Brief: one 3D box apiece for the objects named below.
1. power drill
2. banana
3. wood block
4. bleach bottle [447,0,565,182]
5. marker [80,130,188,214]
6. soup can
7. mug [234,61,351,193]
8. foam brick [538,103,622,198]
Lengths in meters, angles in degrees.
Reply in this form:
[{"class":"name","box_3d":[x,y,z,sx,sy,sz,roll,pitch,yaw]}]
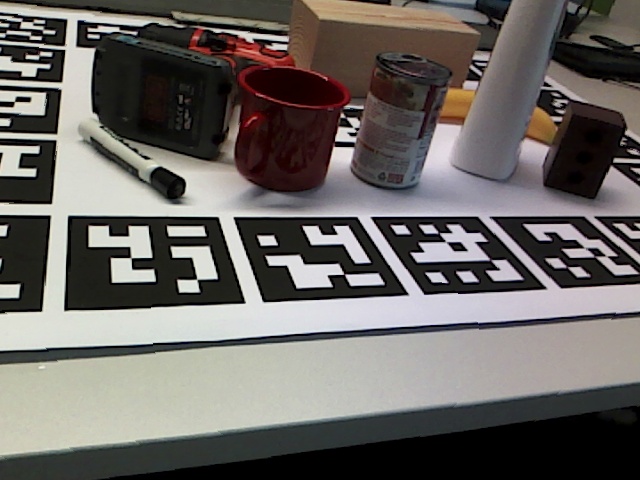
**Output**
[{"class":"power drill","box_3d":[-0.129,-0.154,0.614,0.184,0.057,0.187,17,31,0]},{"class":"banana","box_3d":[0.164,-0.161,0.726,0.197,0.039,0.074,9,46,-10]},{"class":"wood block","box_3d":[0.064,-0.226,0.752,0.205,0.091,0.090,-3,37,-23]},{"class":"bleach bottle","box_3d":[0.186,-0.185,0.579,0.068,0.250,0.102,14,31,3]},{"class":"marker","box_3d":[-0.145,-0.054,0.484,0.122,0.019,0.019,33,40,28]},{"class":"soup can","box_3d":[0.068,-0.107,0.546,0.068,0.102,0.068,9,28,-5]},{"class":"mug","box_3d":[-0.033,-0.088,0.511,0.093,0.081,0.117,24,37,13]},{"class":"foam brick","box_3d":[0.258,-0.090,0.620,0.053,0.078,0.051,15,30,8]}]
